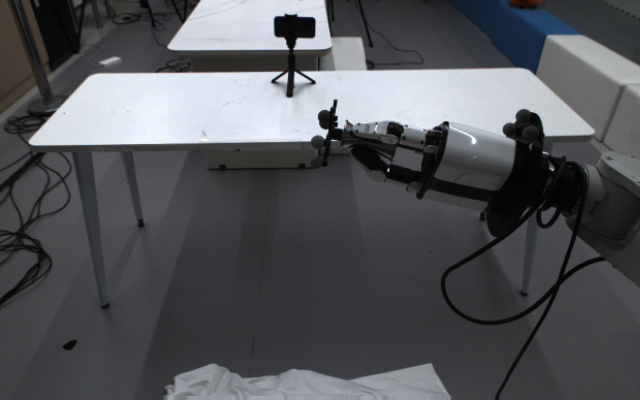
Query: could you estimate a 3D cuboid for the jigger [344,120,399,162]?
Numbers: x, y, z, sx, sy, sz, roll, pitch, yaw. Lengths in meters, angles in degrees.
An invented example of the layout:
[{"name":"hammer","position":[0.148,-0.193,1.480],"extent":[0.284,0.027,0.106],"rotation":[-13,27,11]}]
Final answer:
[{"name":"jigger","position":[0.070,-0.081,0.616],"extent":[0.071,0.043,0.043],"rotation":[11,35,3]}]
